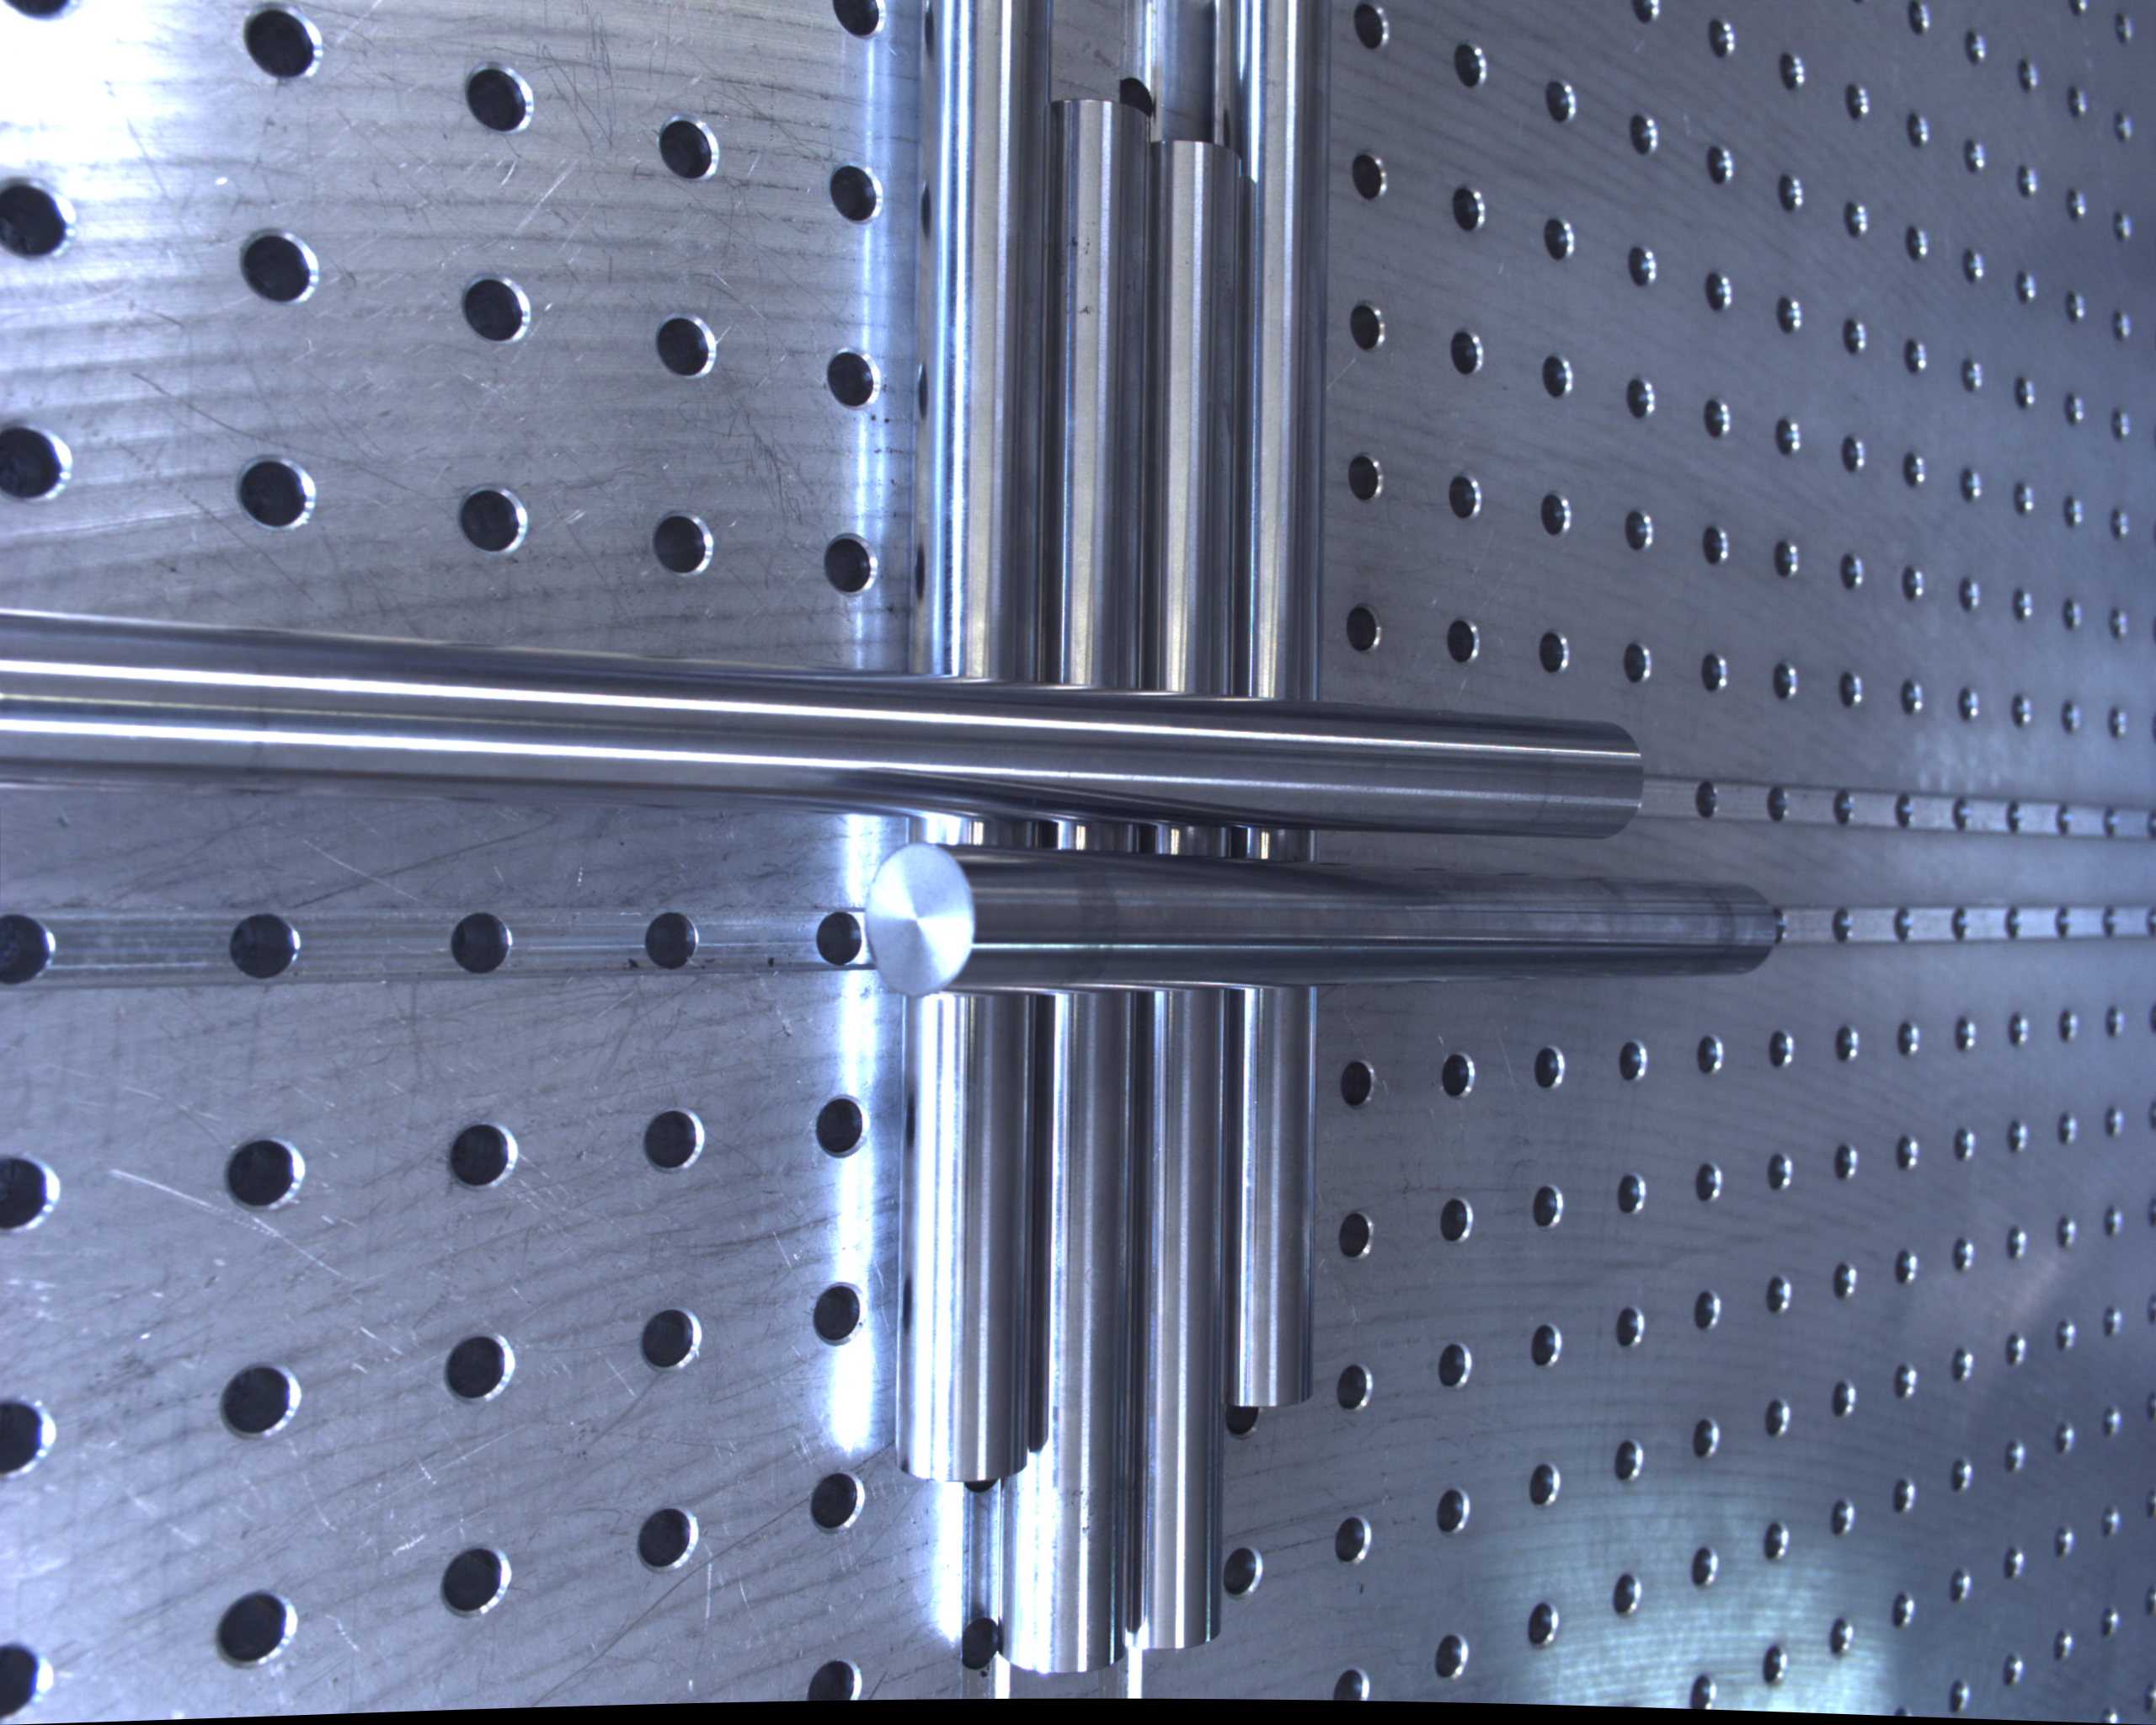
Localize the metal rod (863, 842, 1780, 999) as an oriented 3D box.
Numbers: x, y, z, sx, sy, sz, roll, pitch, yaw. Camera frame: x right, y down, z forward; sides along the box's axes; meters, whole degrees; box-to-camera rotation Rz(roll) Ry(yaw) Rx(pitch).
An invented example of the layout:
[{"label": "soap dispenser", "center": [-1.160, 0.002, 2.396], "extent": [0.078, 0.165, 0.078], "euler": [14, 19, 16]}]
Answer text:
[{"label": "metal rod", "center": [0.075, 0.013, 0.444], "extent": [0.302, 0.025, 0.025], "euler": [2, 89, -48]}]

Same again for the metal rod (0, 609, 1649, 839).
[{"label": "metal rod", "center": [-0.019, -0.020, 0.362], "extent": [0.302, 0.025, 0.025], "euler": [1, 90, -31]}]

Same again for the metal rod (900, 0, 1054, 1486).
[{"label": "metal rod", "center": [-0.019, -0.036, 0.391], "extent": [0.025, 0.025, 0.298], "euler": [1, 89, -40]}]

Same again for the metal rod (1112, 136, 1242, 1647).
[{"label": "metal rod", "center": [0.019, 0.005, 0.425], "extent": [0.025, 0.025, 0.298], "euler": [1, 89, -40]}]

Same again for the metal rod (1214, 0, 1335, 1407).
[{"label": "metal rod", "center": [0.040, -0.038, 0.440], "extent": [0.025, 0.025, 0.298], "euler": [1, 89, -40]}]

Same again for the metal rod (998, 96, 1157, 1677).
[{"label": "metal rod", "center": [0.000, 0.004, 0.407], "extent": [0.025, 0.025, 0.298], "euler": [2, 89, -40]}]
